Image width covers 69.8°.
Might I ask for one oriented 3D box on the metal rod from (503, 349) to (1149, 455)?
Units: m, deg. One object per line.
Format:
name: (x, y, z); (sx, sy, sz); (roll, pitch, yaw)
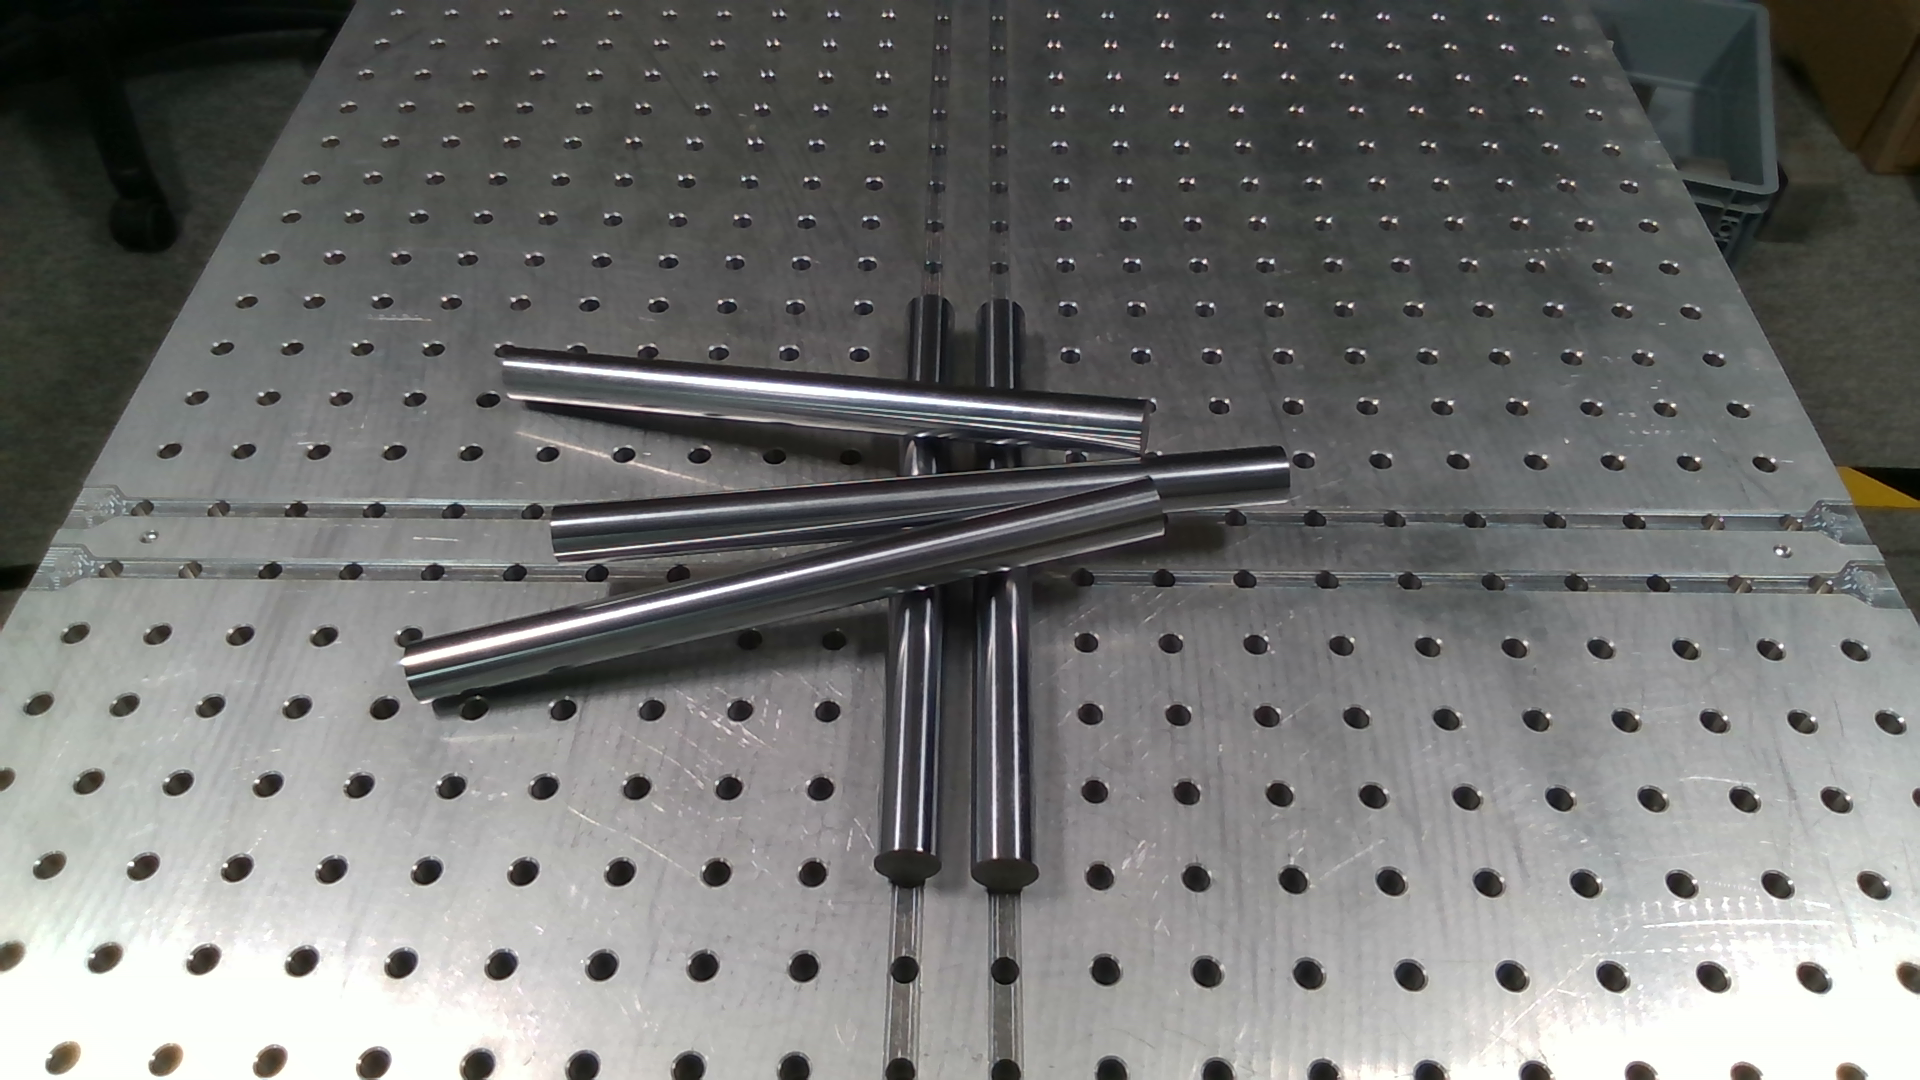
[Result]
metal rod: (-0.066, -0.063, 0.619); (0.300, 0.025, 0.025); (6, 50, 14)

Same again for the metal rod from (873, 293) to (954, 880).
metal rod: (-0.017, 0.002, 0.589); (0.025, 0.025, 0.299); (0, 50, 0)

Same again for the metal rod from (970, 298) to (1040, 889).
metal rod: (0.018, 0.004, 0.587); (0.025, 0.025, 0.299); (0, 50, 0)

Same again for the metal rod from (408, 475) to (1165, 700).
metal rod: (-0.068, 0.019, 0.550); (0.300, 0.025, 0.025); (-13, 51, -1)

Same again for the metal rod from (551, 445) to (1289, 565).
metal rod: (-0.014, -0.015, 0.570); (0.300, 0.025, 0.025); (-5, 50, -4)
